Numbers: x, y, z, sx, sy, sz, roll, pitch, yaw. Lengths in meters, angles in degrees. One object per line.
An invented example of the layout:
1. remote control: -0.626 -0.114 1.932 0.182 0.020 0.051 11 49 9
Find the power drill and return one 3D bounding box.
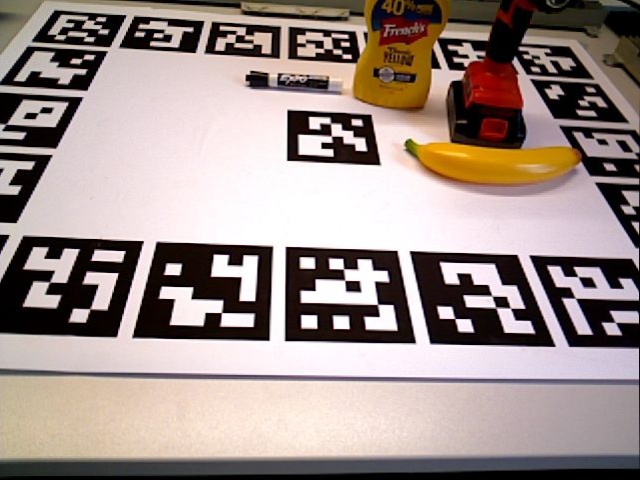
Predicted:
1. power drill: 0.206 -0.188 0.578 0.057 0.191 0.180 13 44 2

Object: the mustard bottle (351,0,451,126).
1. mustard bottle: 0.097 -0.227 0.625 0.096 0.196 0.057 11 46 1

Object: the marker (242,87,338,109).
1. marker: -0.038 -0.179 0.685 0.120 0.020 0.019 4 48 -3

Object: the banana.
1. banana: 0.189 -0.058 0.589 0.197 0.040 0.073 7 48 2
